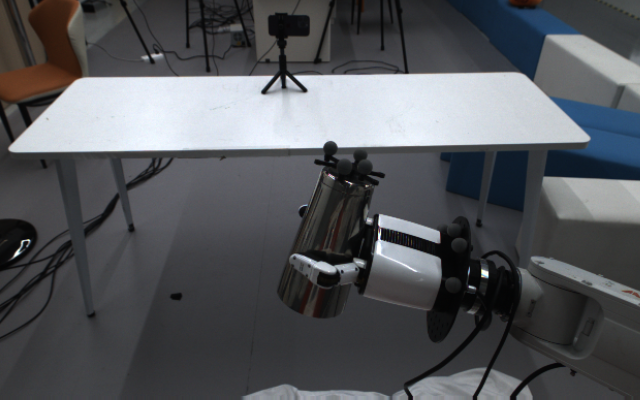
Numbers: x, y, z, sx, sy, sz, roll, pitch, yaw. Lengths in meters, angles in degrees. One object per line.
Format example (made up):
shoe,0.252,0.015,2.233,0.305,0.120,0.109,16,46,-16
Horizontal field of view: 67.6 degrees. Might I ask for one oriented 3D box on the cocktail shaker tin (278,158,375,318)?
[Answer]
cocktail shaker tin,0.013,0.047,0.597,0.093,0.170,0.093,14,20,-5
